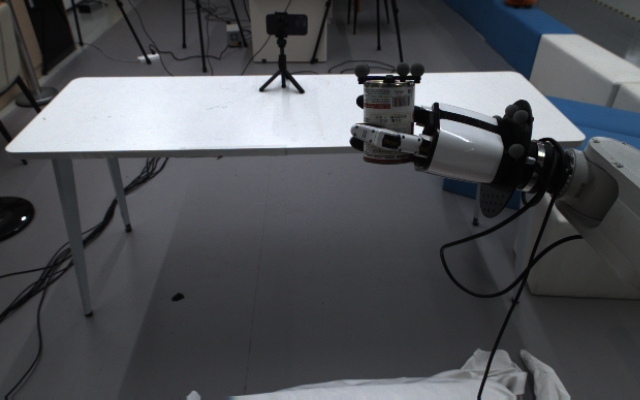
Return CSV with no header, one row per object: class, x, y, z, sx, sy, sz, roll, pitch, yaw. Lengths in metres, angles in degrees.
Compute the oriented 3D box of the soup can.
soup can,0.092,-0.103,0.635,0.067,0.101,0.067,-1,17,0
